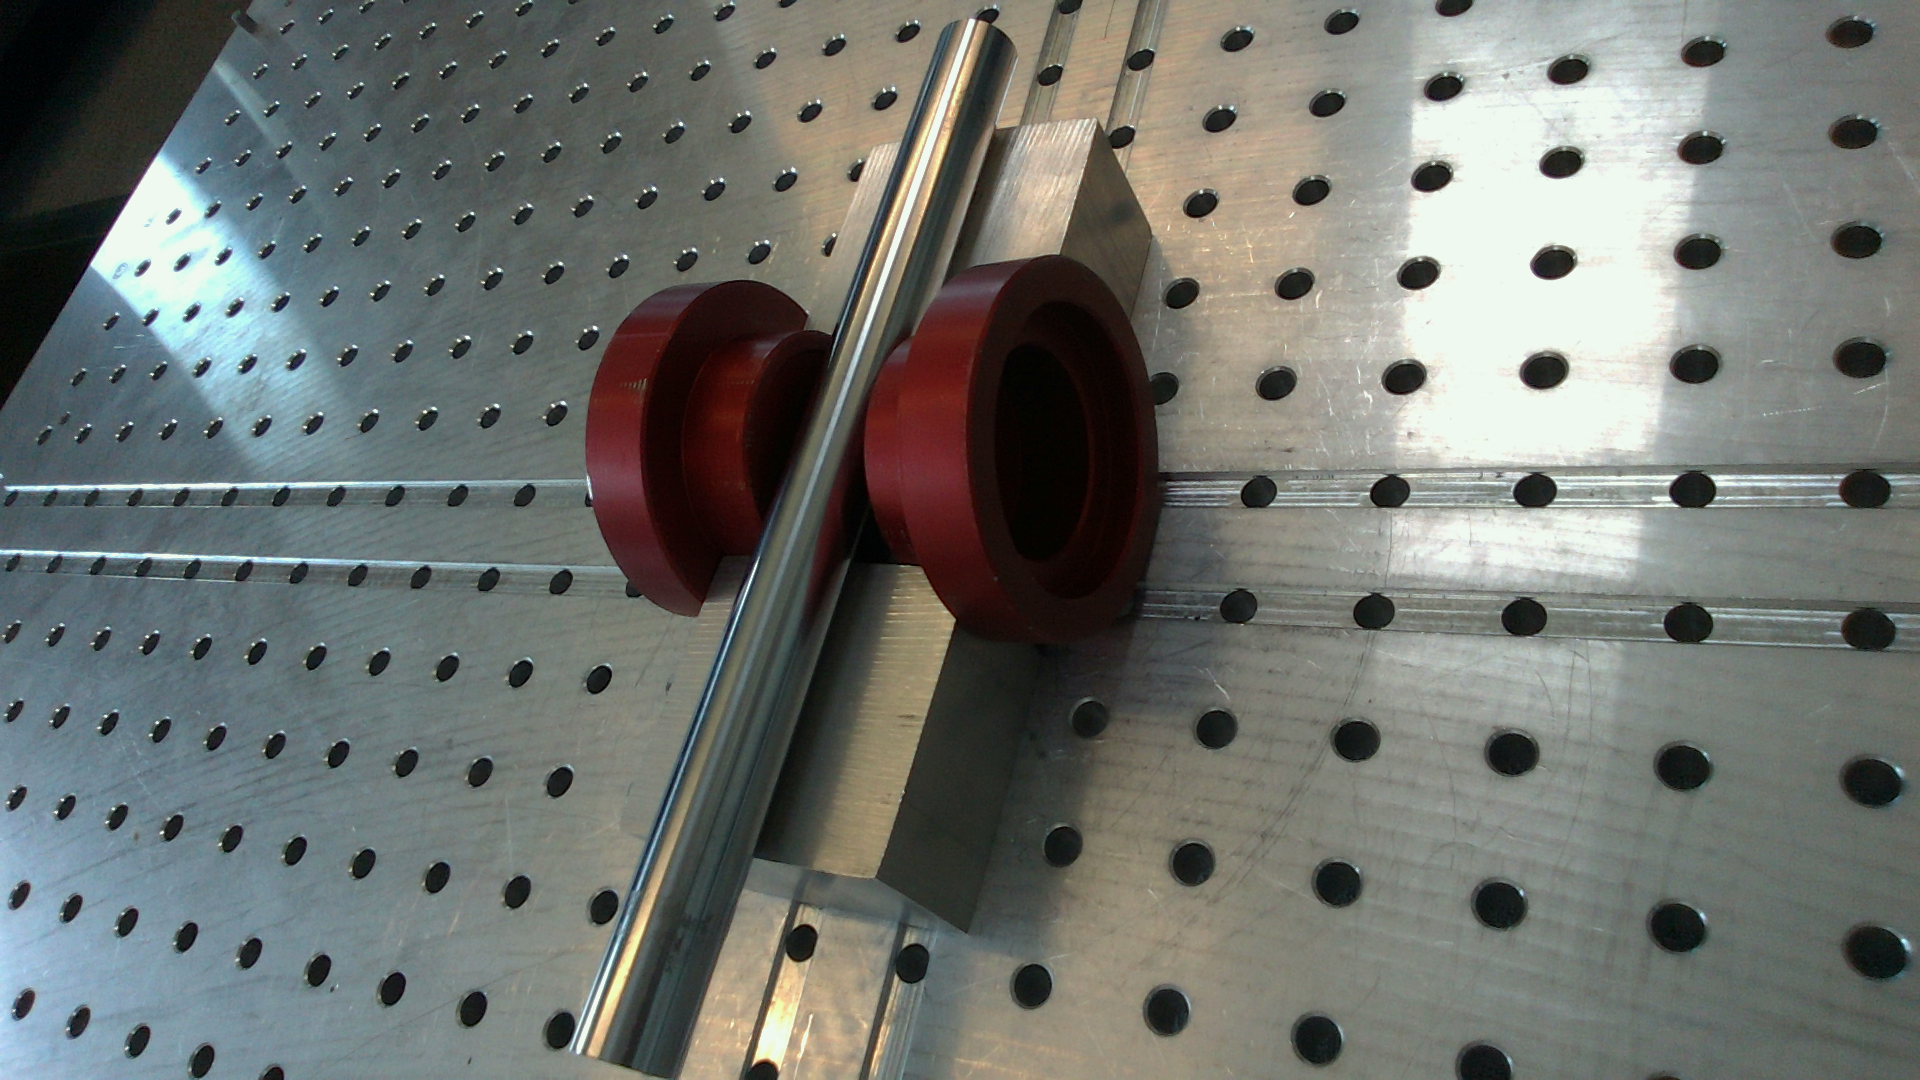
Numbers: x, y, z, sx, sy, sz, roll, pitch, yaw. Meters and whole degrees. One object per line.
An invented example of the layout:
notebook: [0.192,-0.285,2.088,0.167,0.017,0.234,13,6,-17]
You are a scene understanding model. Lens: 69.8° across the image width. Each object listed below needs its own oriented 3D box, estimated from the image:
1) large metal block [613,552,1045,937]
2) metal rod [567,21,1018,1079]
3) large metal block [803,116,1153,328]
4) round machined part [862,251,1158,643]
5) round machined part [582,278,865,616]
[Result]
large metal block: [-0.032,0.052,0.365,0.080,0.050,0.080,3,63,30]
metal rod: [-0.034,-0.017,0.361,0.025,0.025,0.300,3,63,30]
large metal block: [0.006,-0.078,0.425,0.080,0.050,0.080,2,63,29]
round machined part: [0.011,-0.023,0.357,0.042,0.098,0.098,-1,61,34]
round machined part: [-0.058,-0.026,0.396,0.042,0.098,0.098,2,62,30]
